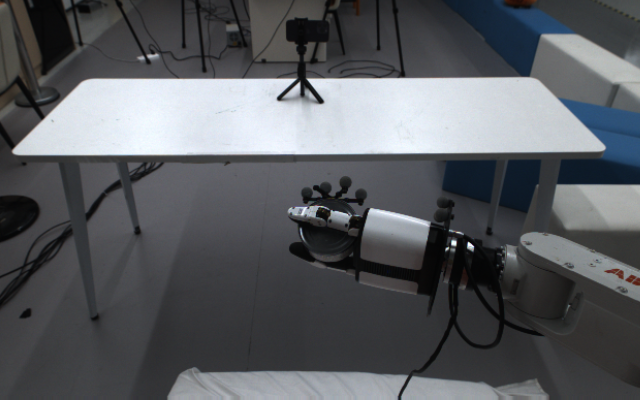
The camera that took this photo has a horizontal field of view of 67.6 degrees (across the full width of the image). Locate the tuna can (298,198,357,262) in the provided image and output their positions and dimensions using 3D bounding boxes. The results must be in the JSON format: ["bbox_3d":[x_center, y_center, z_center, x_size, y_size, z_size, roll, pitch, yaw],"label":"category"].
[{"bbox_3d":[0.015,0.042,0.679,0.085,0.034,0.085,-4,61,7],"label":"tuna can"}]
